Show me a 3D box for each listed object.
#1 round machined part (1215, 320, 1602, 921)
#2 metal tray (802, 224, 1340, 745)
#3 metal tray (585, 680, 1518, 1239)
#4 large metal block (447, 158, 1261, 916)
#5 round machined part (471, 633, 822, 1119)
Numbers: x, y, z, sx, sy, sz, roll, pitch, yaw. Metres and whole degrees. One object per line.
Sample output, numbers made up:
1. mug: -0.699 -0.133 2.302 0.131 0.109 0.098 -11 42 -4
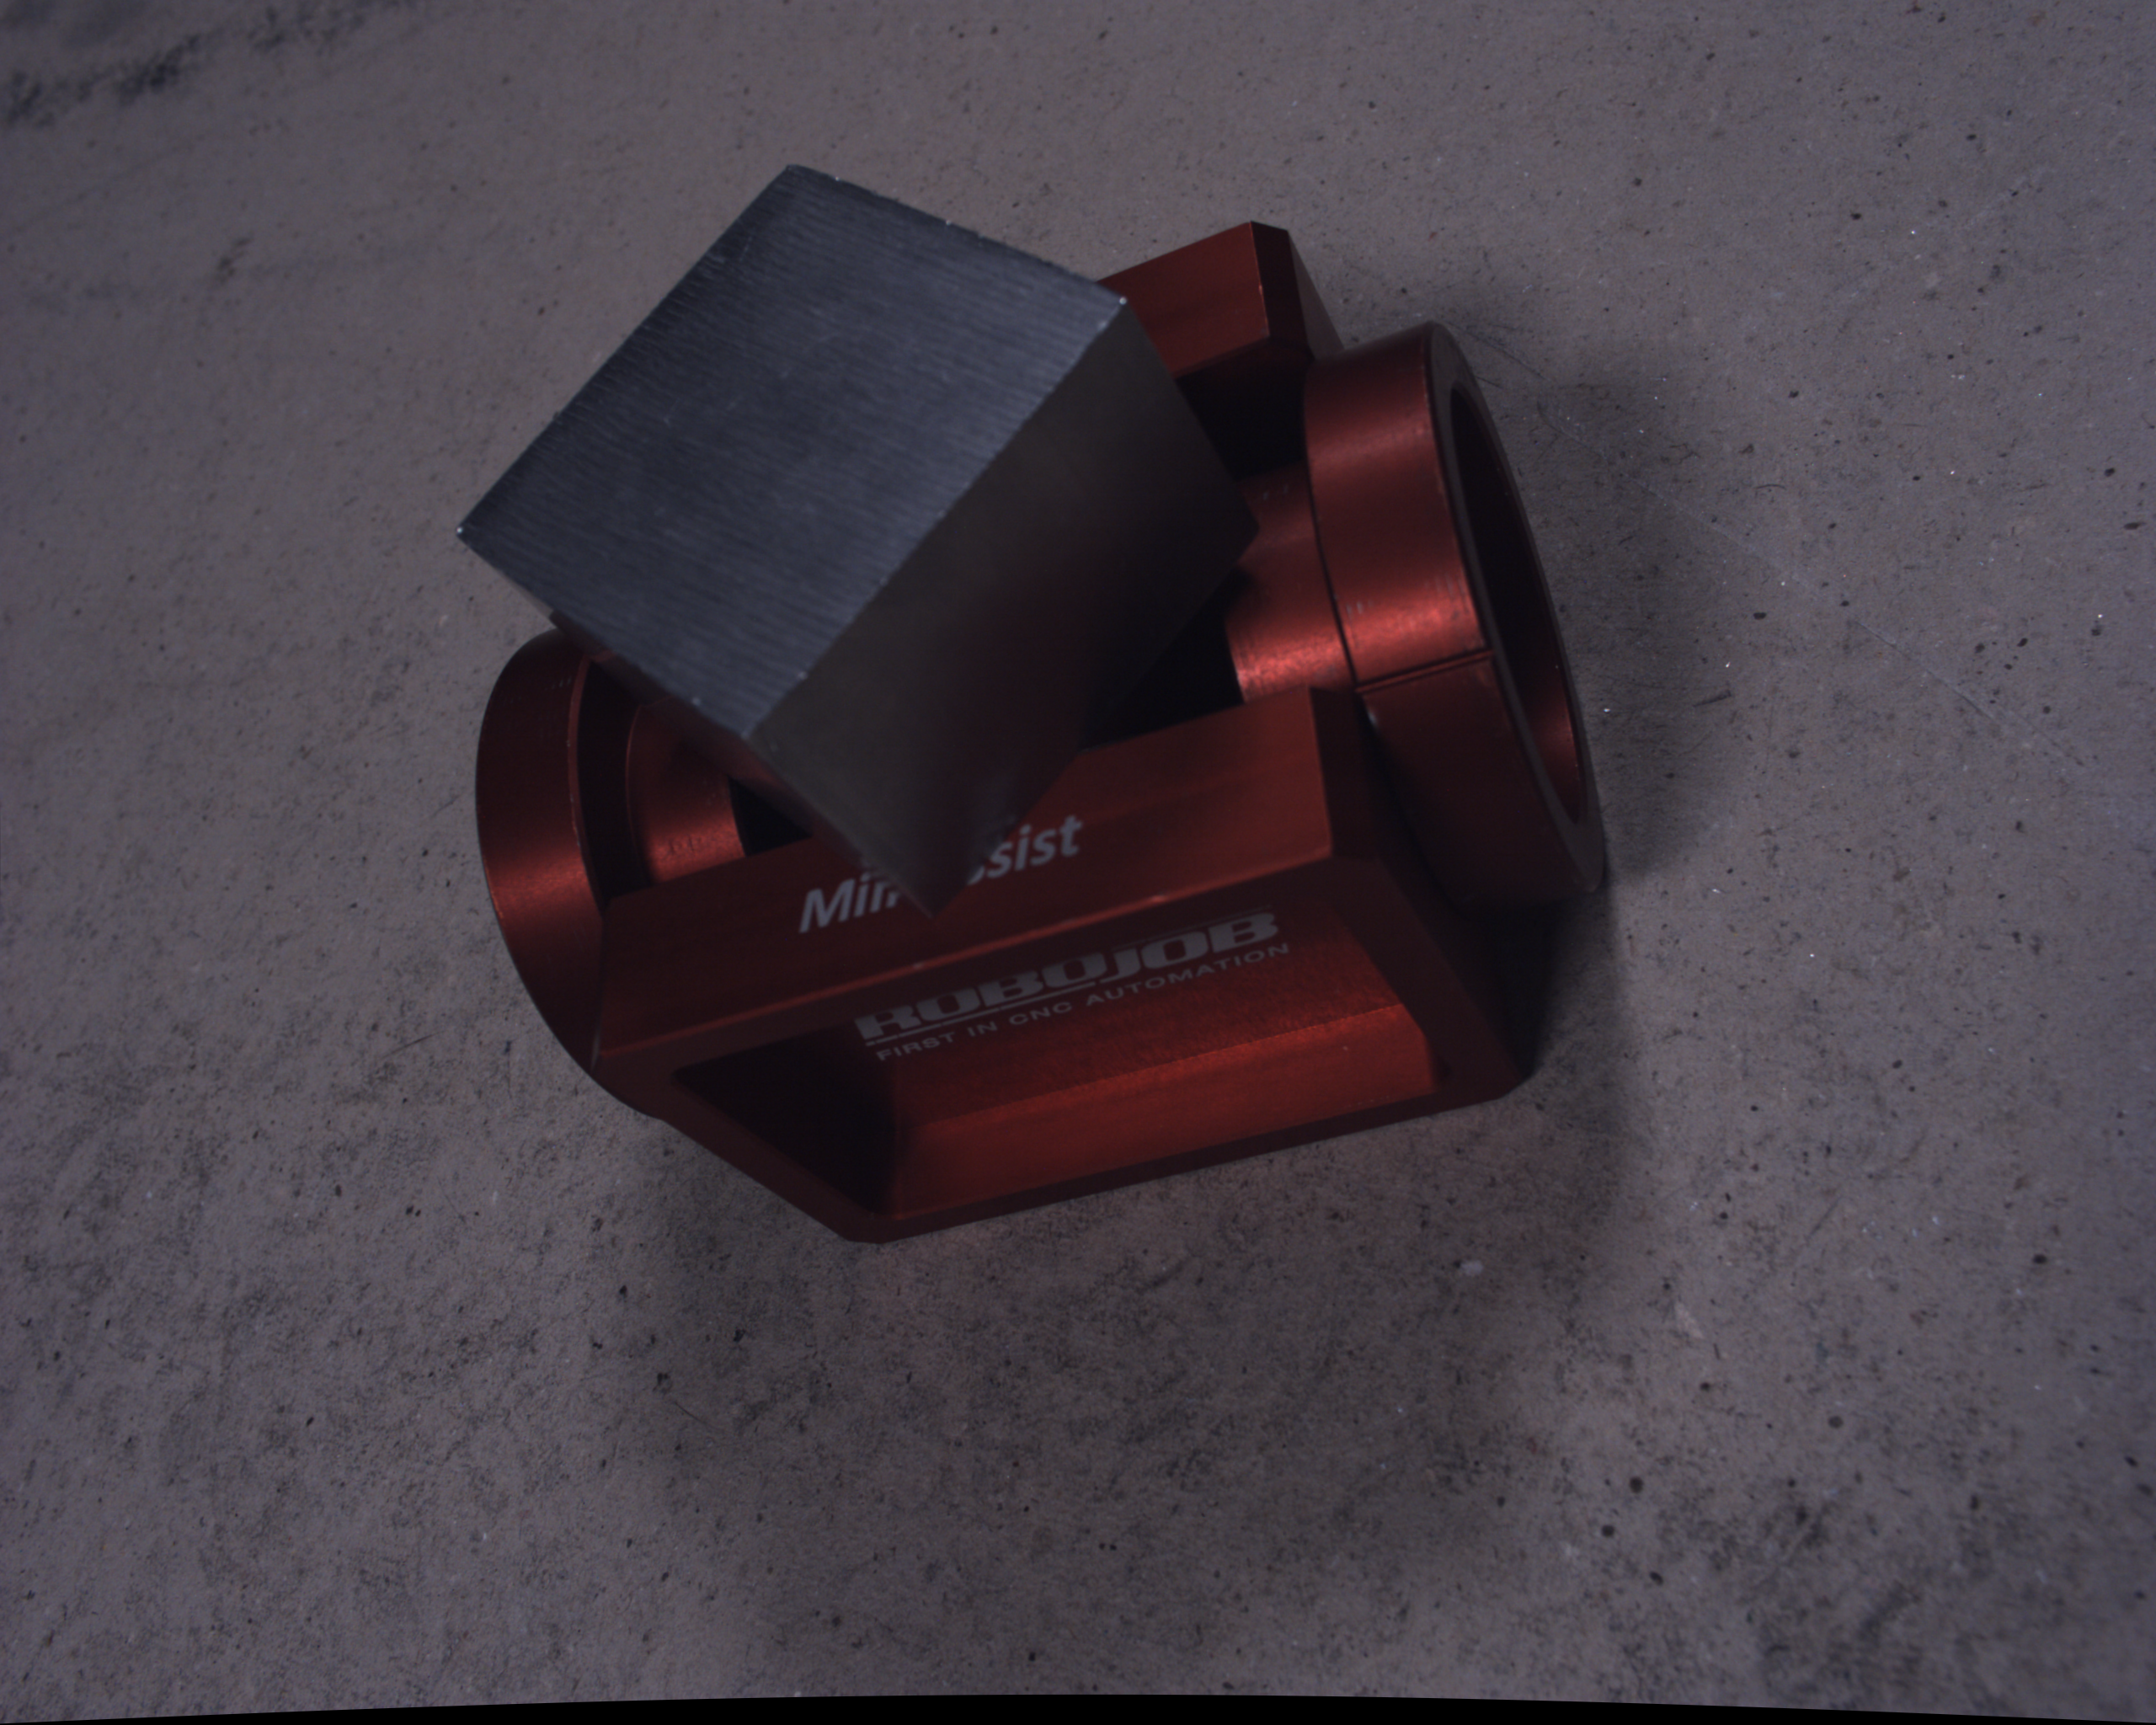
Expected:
1. round machined part: 0.055 -0.037 0.352 0.042 0.098 0.098 -15 56 20
2. metal tray: -0.005 -0.060 0.403 0.130 0.090 0.030 -17 55 18
3. metal tray: -0.003 0.022 0.348 0.130 0.090 0.030 -16 56 18
4. large metal block: -0.034 -0.052 0.319 0.080 0.050 0.080 34 80 38
5. round machined part: -0.066 -0.003 0.393 0.042 0.098 0.098 -15 56 20
